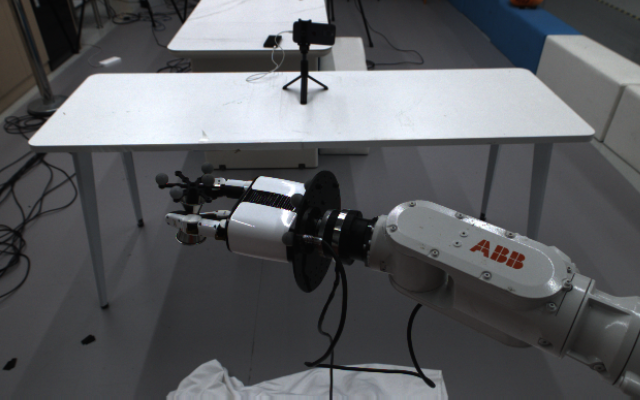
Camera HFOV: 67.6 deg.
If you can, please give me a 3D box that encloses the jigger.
[{"bbox_3d":[-0.181,0.024,0.686,0.043,0.071,0.043,9,31,-5],"label":"jigger"}]
